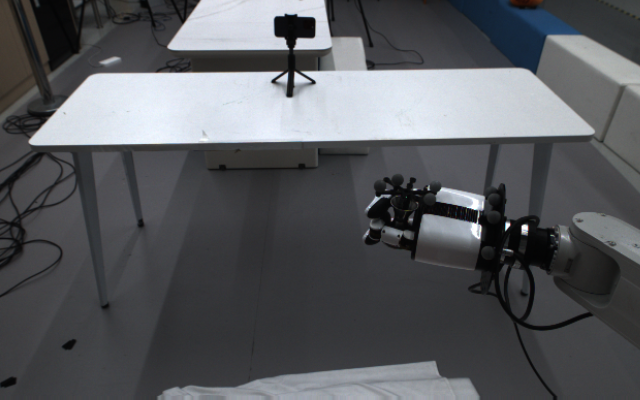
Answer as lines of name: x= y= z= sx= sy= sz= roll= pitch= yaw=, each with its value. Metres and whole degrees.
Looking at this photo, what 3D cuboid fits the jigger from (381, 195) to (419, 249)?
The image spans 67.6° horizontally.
jigger: x=0.121 y=0.031 z=0.710 sx=0.043 sy=0.071 sz=0.043 roll=4 pitch=31 yaw=-2
